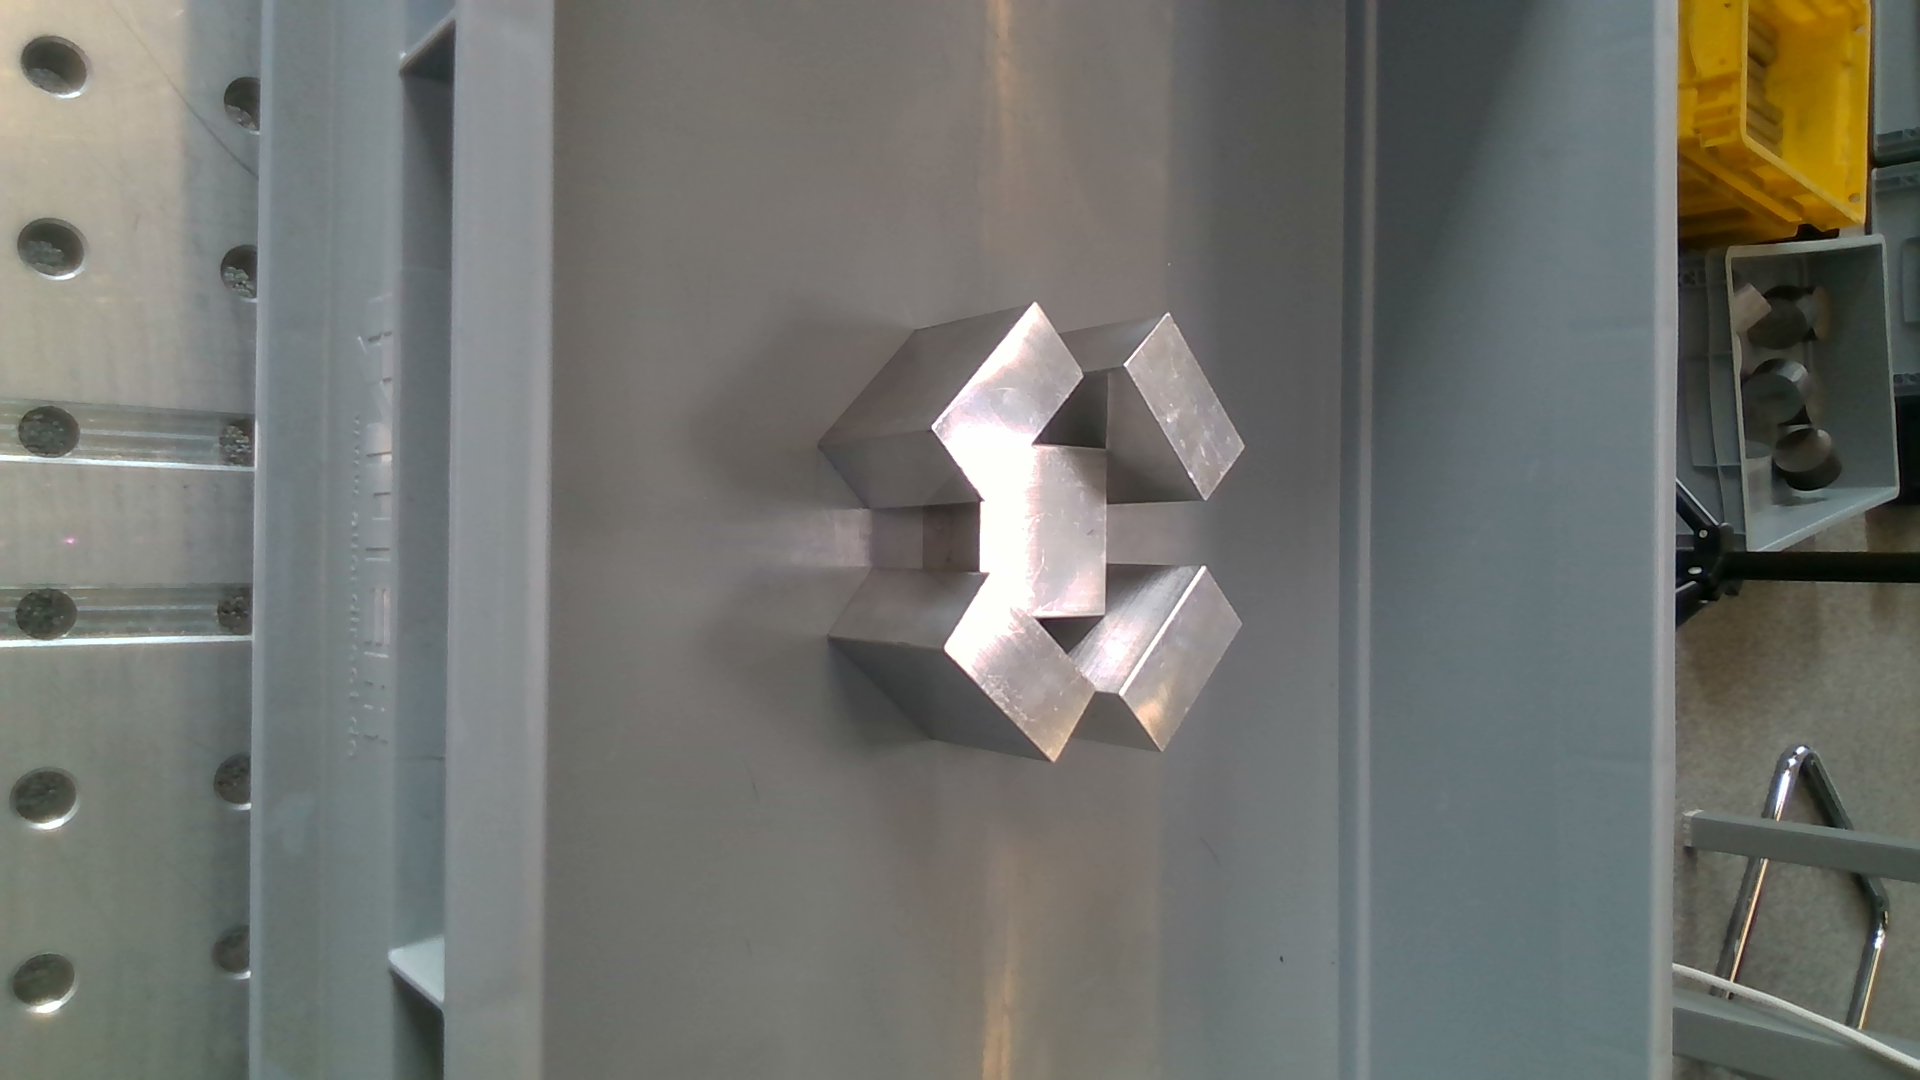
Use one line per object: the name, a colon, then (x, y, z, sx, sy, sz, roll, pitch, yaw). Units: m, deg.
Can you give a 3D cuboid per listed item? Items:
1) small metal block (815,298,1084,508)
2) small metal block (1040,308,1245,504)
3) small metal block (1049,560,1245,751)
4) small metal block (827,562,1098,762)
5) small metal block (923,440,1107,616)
small metal block: (-0.003, -0.036, 0.371, 0.025, 0.050, 0.050, 52, 59, -26)
small metal block: (0.049, -0.038, 0.414, 0.025, 0.050, 0.050, -50, 119, -29)
small metal block: (0.049, 0.033, 0.414, 0.050, 0.050, 0.025, -52, 121, -27)
small metal block: (0.001, 0.032, 0.373, 0.050, 0.050, 0.025, 48, 62, -30)
small metal block: (0.017, -0.003, 0.403, 0.050, 0.025, 0.050, 1, 89, -40)
